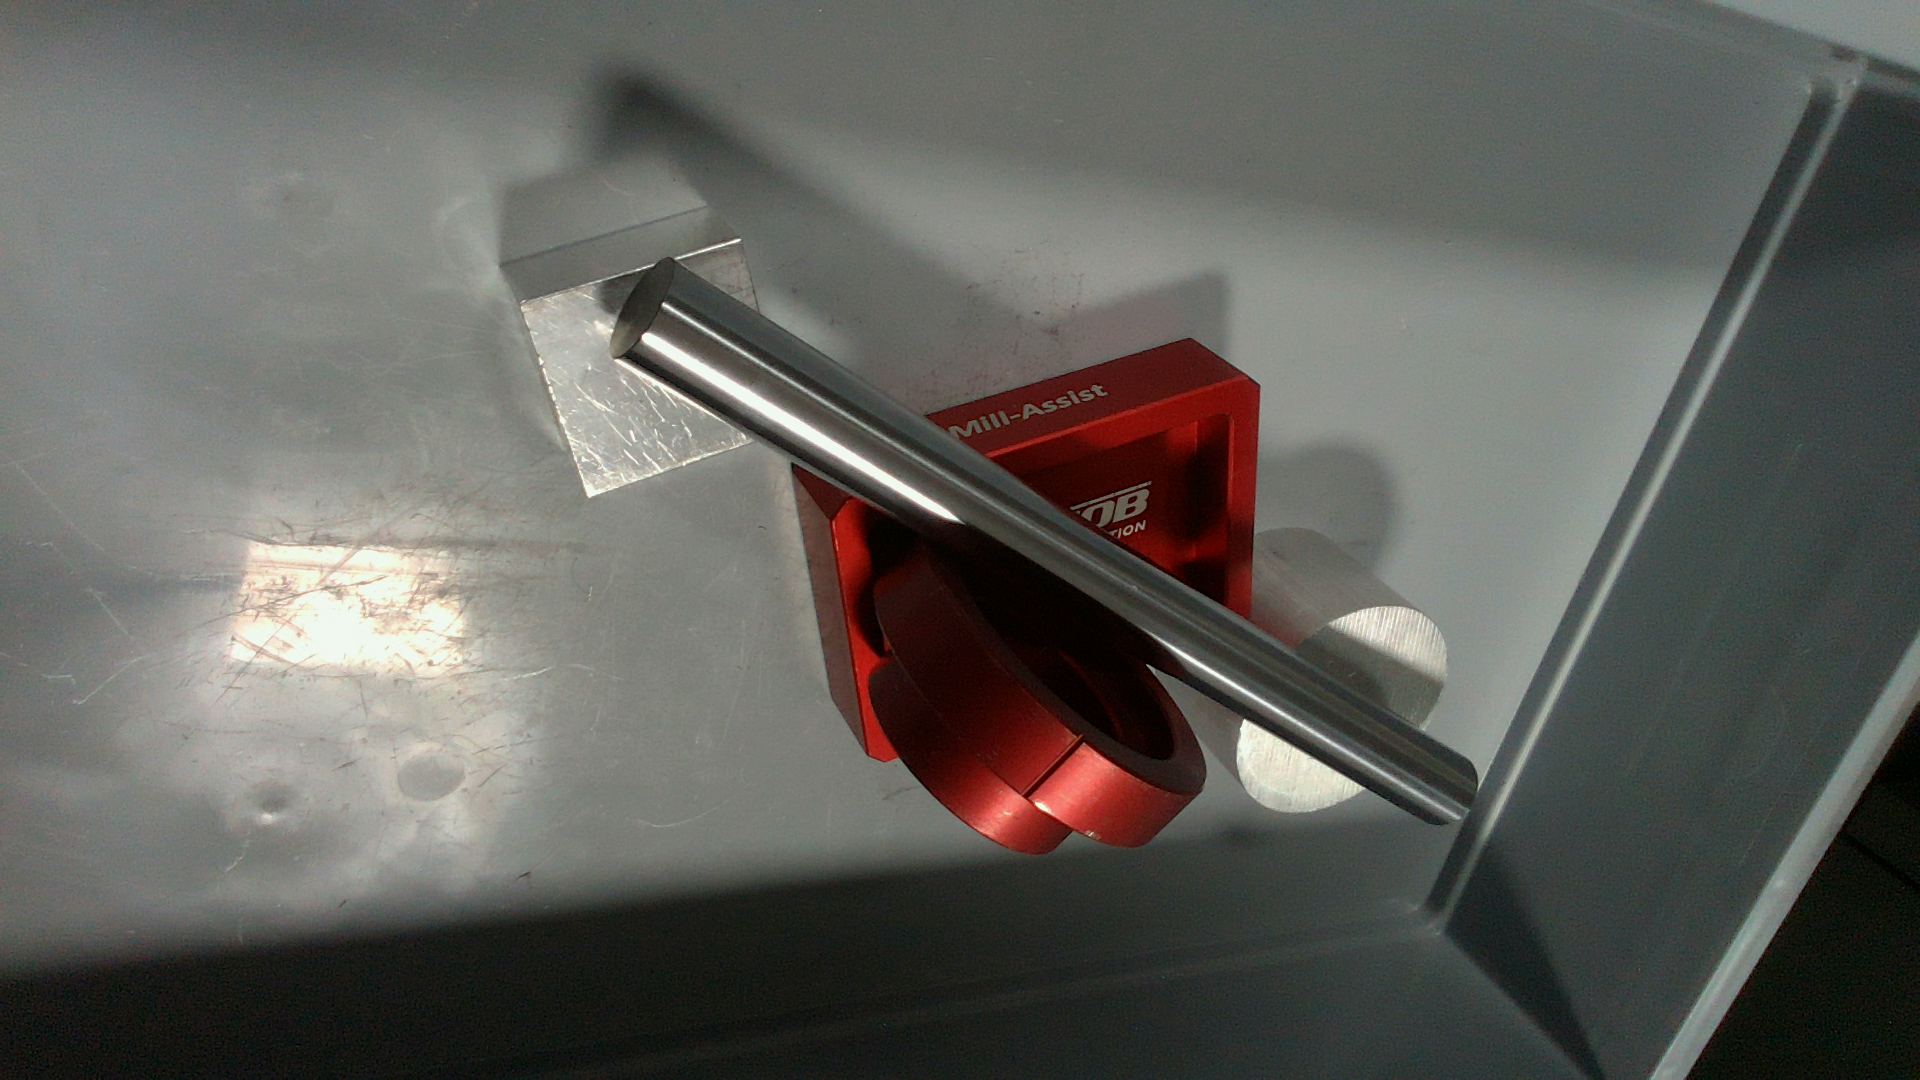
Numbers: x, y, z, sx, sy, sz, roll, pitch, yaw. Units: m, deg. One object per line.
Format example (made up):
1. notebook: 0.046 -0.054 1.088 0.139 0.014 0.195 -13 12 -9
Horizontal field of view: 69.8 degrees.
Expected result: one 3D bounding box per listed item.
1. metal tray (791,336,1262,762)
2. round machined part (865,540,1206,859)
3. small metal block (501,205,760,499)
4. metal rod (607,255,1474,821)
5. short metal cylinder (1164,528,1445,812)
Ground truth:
1. metal tray: 0.023 0.002 0.397 0.130 0.030 0.090 -18 126 -18
2. round machined part: 0.014 0.043 0.358 0.098 0.098 0.042 31 109 -38
3. small metal block: -0.072 -0.044 0.321 0.050 0.025 0.050 -20 126 -16
4. metal rod: 0.044 0.015 0.368 0.301 0.025 0.025 30 102 -31
5. short metal cylinder: 0.112 0.043 0.459 0.080 0.050 0.080 -14 124 -21
